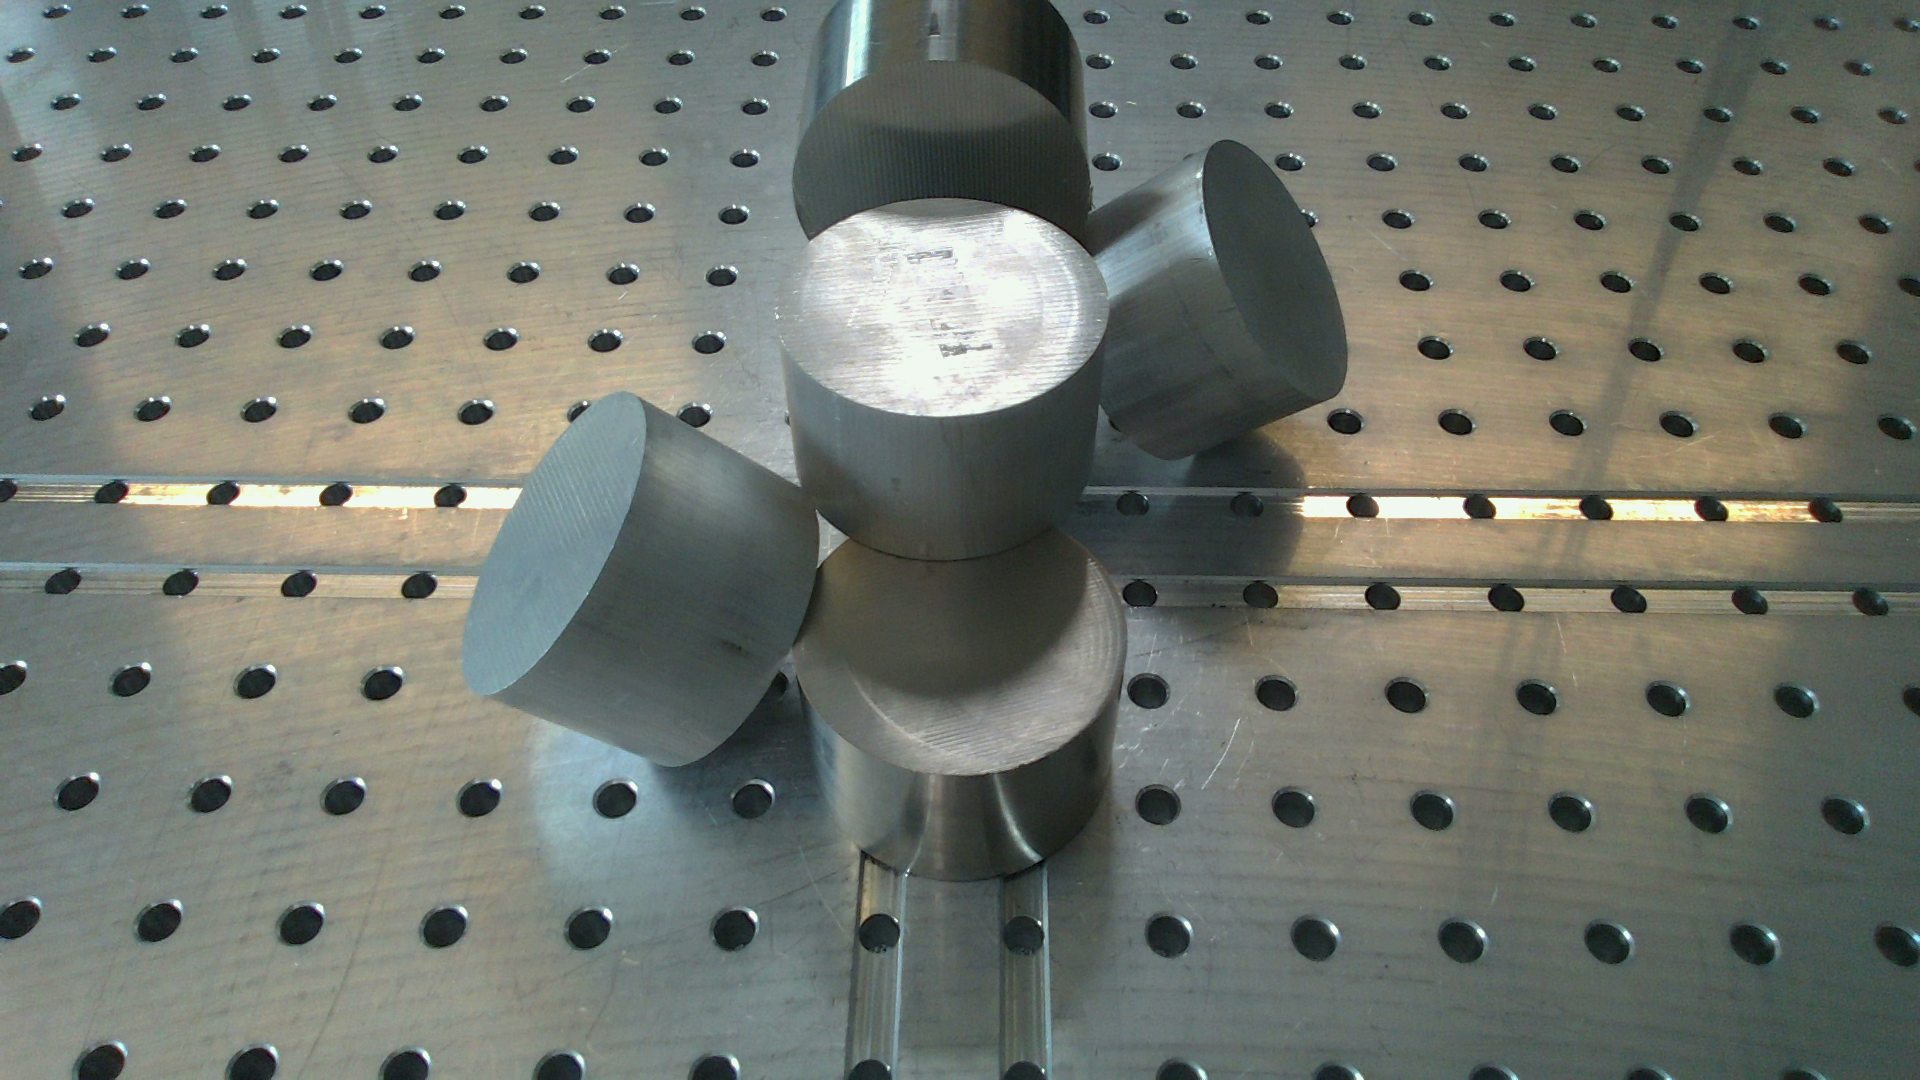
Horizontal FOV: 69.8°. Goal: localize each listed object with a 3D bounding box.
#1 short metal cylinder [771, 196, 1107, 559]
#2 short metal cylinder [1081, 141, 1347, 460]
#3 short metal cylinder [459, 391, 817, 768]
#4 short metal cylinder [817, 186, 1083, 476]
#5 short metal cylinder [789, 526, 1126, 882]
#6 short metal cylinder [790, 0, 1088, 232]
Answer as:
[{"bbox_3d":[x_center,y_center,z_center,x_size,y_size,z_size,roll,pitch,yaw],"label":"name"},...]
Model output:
[{"bbox_3d":[-0.005,-0.042,0.347,0.080,0.050,0.080,0,50,0],"label":"short metal cylinder"},{"bbox_3d":[0.072,-0.070,0.409,0.050,0.080,0.080,-23,38,36],"label":"short metal cylinder"},{"bbox_3d":[-0.081,0.010,0.343,0.050,0.080,0.080,31,40,-33],"label":"short metal cylinder"},{"bbox_3d":[-0.003,-0.067,0.434,0.080,0.050,0.080,0,50,0],"label":"short metal cylinder"},{"bbox_3d":[-0.001,0.038,0.346,0.080,0.050,0.080,0,51,0],"label":"short metal cylinder"},{"bbox_3d":[-0.005,-0.112,0.387,0.080,0.080,0.050,0,50,0],"label":"short metal cylinder"}]
